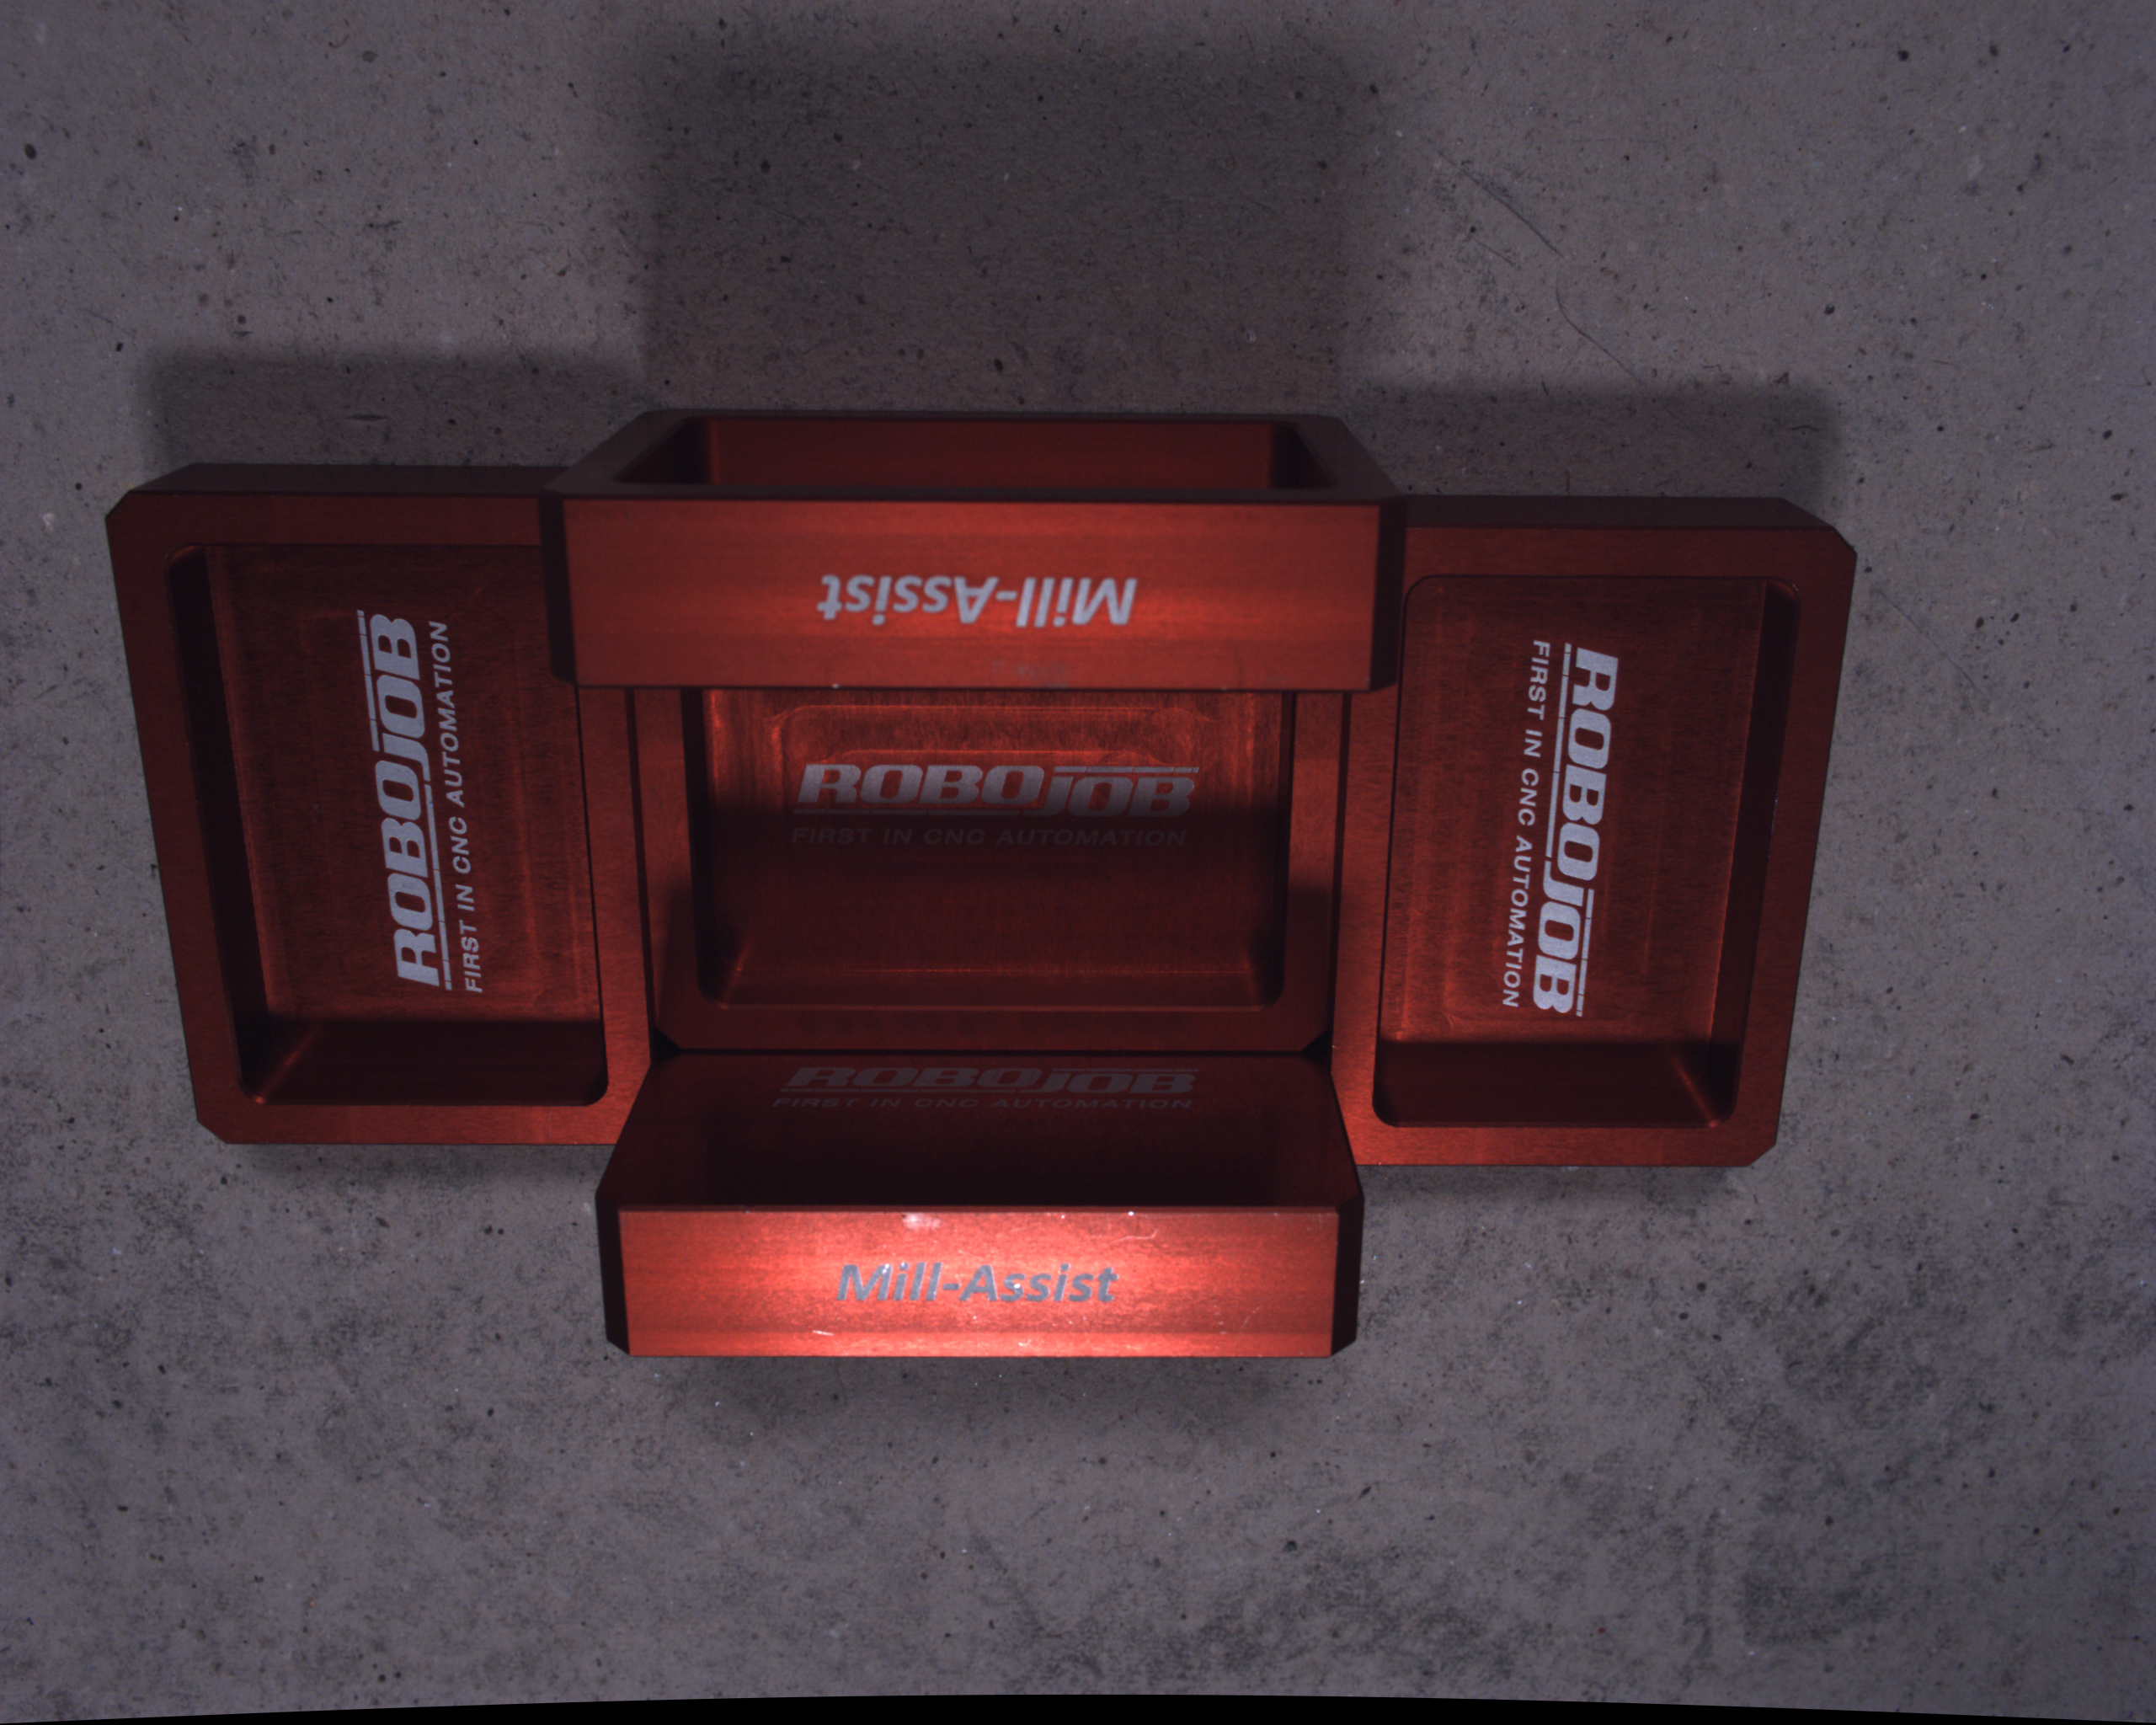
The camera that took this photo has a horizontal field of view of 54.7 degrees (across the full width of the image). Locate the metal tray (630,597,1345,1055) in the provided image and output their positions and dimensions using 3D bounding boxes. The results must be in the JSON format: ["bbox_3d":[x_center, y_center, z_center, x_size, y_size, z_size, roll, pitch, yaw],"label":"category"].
[{"bbox_3d":[-0.017,-0.010,0.404,0.131,0.030,0.089,1,110,-1],"label":"metal tray"}]

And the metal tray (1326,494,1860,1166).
[{"bbox_3d":[0.095,-0.005,0.408,0.091,0.030,0.129,0,110,-1],"label":"metal tray"}]

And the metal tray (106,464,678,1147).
[{"bbox_3d":[-0.127,-0.009,0.403,0.091,0.030,0.129,0,110,-1],"label":"metal tray"}]

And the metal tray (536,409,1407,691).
[{"bbox_3d":[-0.016,-0.056,0.356,0.131,0.090,0.030,0,110,-1],"label":"metal tray"}]

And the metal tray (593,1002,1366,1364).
[{"bbox_3d":[-0.017,0.057,0.396,0.131,0.090,0.030,0,110,-1],"label":"metal tray"}]
